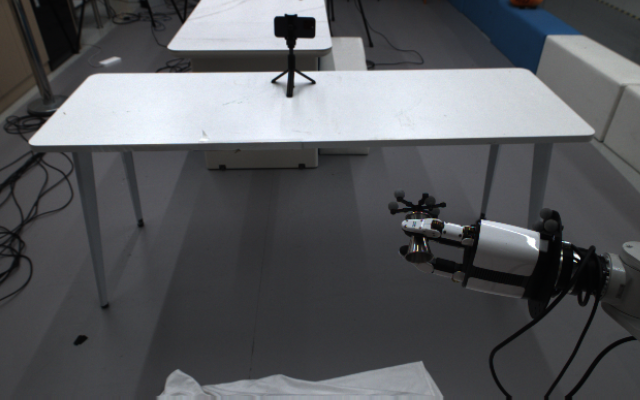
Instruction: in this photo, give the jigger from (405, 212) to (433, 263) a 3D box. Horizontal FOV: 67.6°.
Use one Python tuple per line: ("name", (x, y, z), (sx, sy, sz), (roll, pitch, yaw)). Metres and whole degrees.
("jigger", (0.150, 0.055, 0.741), (0.043, 0.043, 0.071), (4, 61, 3))
